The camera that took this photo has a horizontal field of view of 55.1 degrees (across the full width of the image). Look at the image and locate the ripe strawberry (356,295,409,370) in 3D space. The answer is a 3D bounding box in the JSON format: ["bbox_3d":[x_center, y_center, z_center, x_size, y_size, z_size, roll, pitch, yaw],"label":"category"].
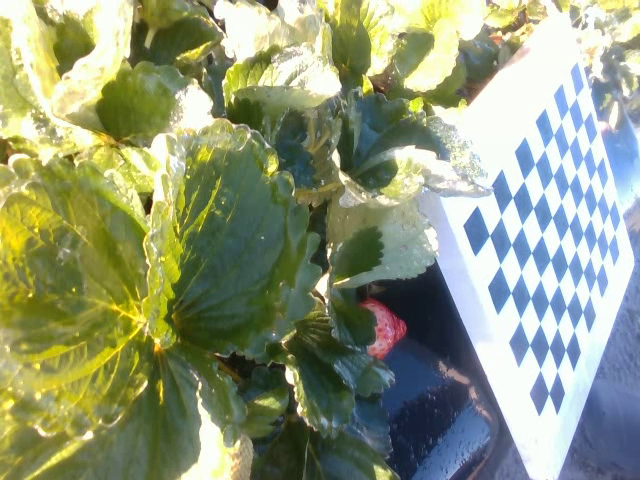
[{"bbox_3d":[0.039,0.062,0.382,0.040,0.040,0.065,-8,-11,42],"label":"ripe strawberry"}]
